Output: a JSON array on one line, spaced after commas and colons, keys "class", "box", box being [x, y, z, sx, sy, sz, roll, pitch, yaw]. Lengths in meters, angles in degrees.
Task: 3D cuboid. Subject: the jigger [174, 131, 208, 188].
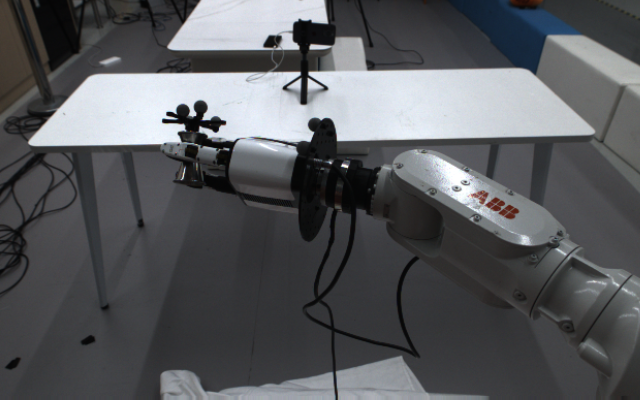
[{"class": "jigger", "box": [-0.175, -0.056, 0.659, 0.043, 0.071, 0.043, 2, -6, 0]}]
